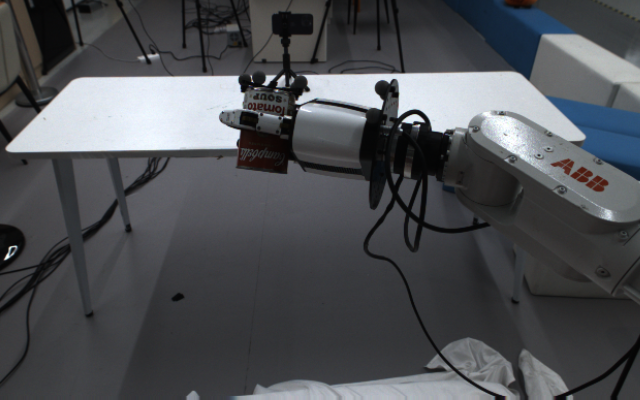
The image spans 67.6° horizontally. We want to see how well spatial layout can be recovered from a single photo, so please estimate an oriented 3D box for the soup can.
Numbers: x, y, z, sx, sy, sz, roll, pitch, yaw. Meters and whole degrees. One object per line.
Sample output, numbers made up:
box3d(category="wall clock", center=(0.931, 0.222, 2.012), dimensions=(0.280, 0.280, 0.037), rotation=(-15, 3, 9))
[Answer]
box3d(category="soup can", center=(-0.069, -0.087, 0.623), dimensions=(0.067, 0.101, 0.067), rotation=(7, 3, 0))
